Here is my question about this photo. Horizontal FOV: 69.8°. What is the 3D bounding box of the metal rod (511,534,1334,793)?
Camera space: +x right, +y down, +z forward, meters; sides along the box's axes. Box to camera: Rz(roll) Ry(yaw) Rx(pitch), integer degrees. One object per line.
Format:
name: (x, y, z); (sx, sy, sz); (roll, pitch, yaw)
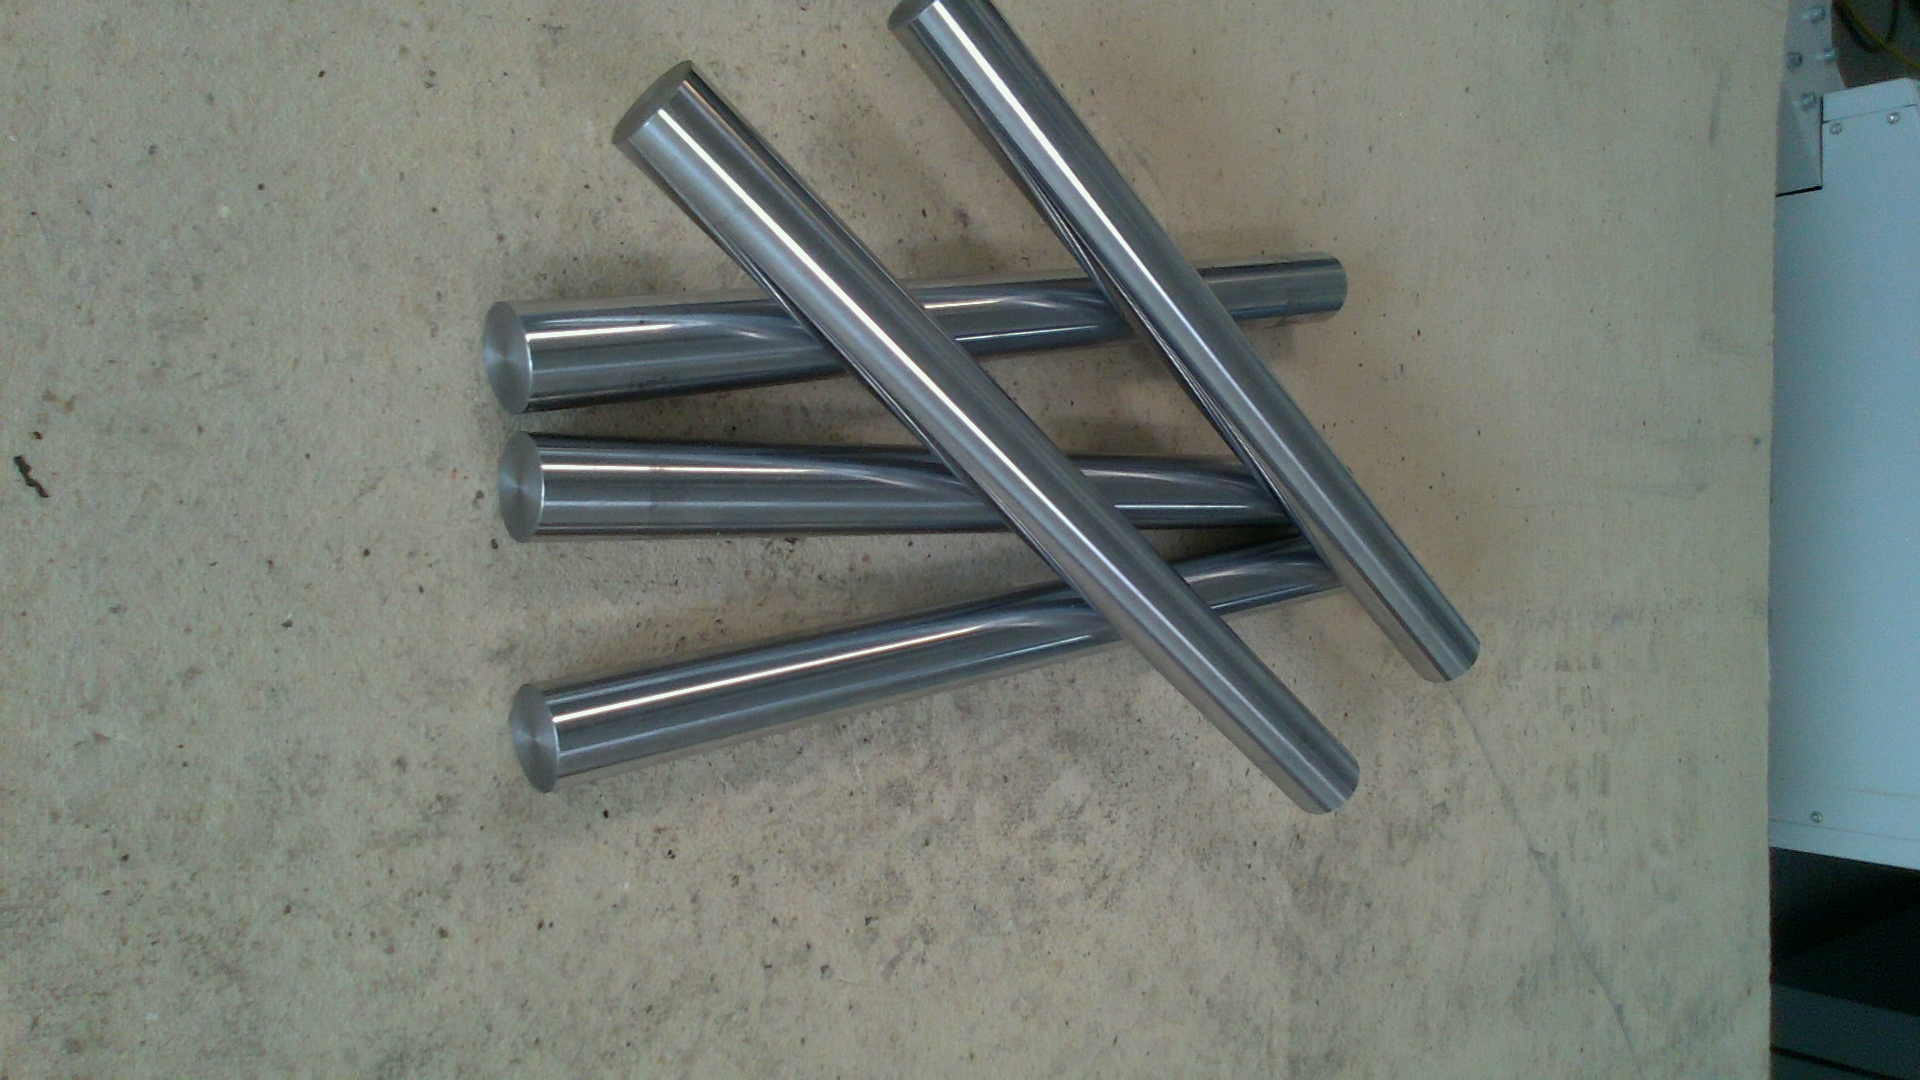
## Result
metal rod: (0.019, 0.026, 0.405); (0.301, 0.025, 0.025); (-9, 96, -39)

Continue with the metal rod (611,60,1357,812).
metal rod: (0.026, -0.008, 0.379); (0.301, 0.025, 0.025); (43, 64, -31)

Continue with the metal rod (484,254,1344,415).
metal rod: (0.014, -0.065, 0.400); (0.301, 0.025, 0.025); (-12, 98, -39)

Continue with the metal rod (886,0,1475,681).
metal rod: (0.084, -0.048, 0.426); (0.301, 0.025, 0.025); (44, 64, -31)

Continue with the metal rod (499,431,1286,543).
metal rod: (0.017, -0.015, 0.403); (0.301, 0.025, 0.025); (-1, 91, -40)
